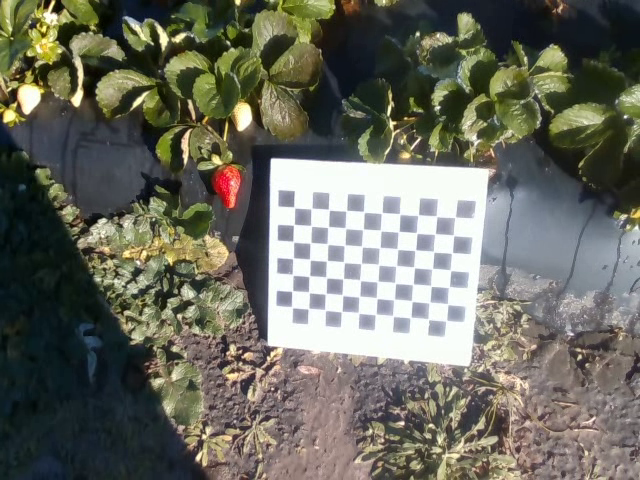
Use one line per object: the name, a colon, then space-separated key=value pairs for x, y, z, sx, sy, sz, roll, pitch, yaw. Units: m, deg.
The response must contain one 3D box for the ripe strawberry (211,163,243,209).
ripe strawberry: x=-0.127 y=-0.073 z=0.870 sx=0.048 sy=0.069 sz=0.040 roll=-14 pitch=2 yaw=14
